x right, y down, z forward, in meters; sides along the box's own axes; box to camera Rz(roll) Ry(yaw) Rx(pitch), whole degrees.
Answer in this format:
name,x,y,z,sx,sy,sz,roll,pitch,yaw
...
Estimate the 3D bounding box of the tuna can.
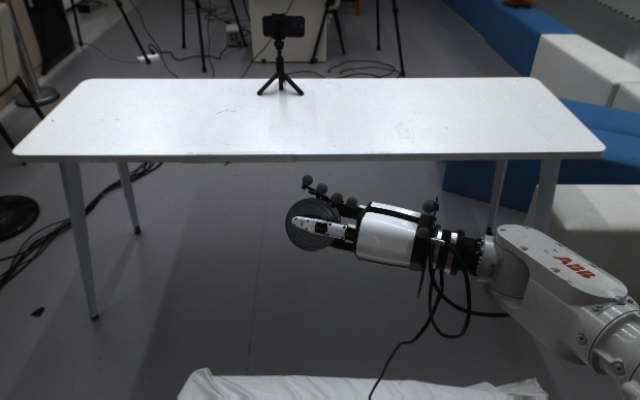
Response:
name,x,y,z,sx,sy,sz,roll,pitch,yaw
tuna can,-0.009,0.038,0.776,0.085,0.085,0.034,10,4,11
